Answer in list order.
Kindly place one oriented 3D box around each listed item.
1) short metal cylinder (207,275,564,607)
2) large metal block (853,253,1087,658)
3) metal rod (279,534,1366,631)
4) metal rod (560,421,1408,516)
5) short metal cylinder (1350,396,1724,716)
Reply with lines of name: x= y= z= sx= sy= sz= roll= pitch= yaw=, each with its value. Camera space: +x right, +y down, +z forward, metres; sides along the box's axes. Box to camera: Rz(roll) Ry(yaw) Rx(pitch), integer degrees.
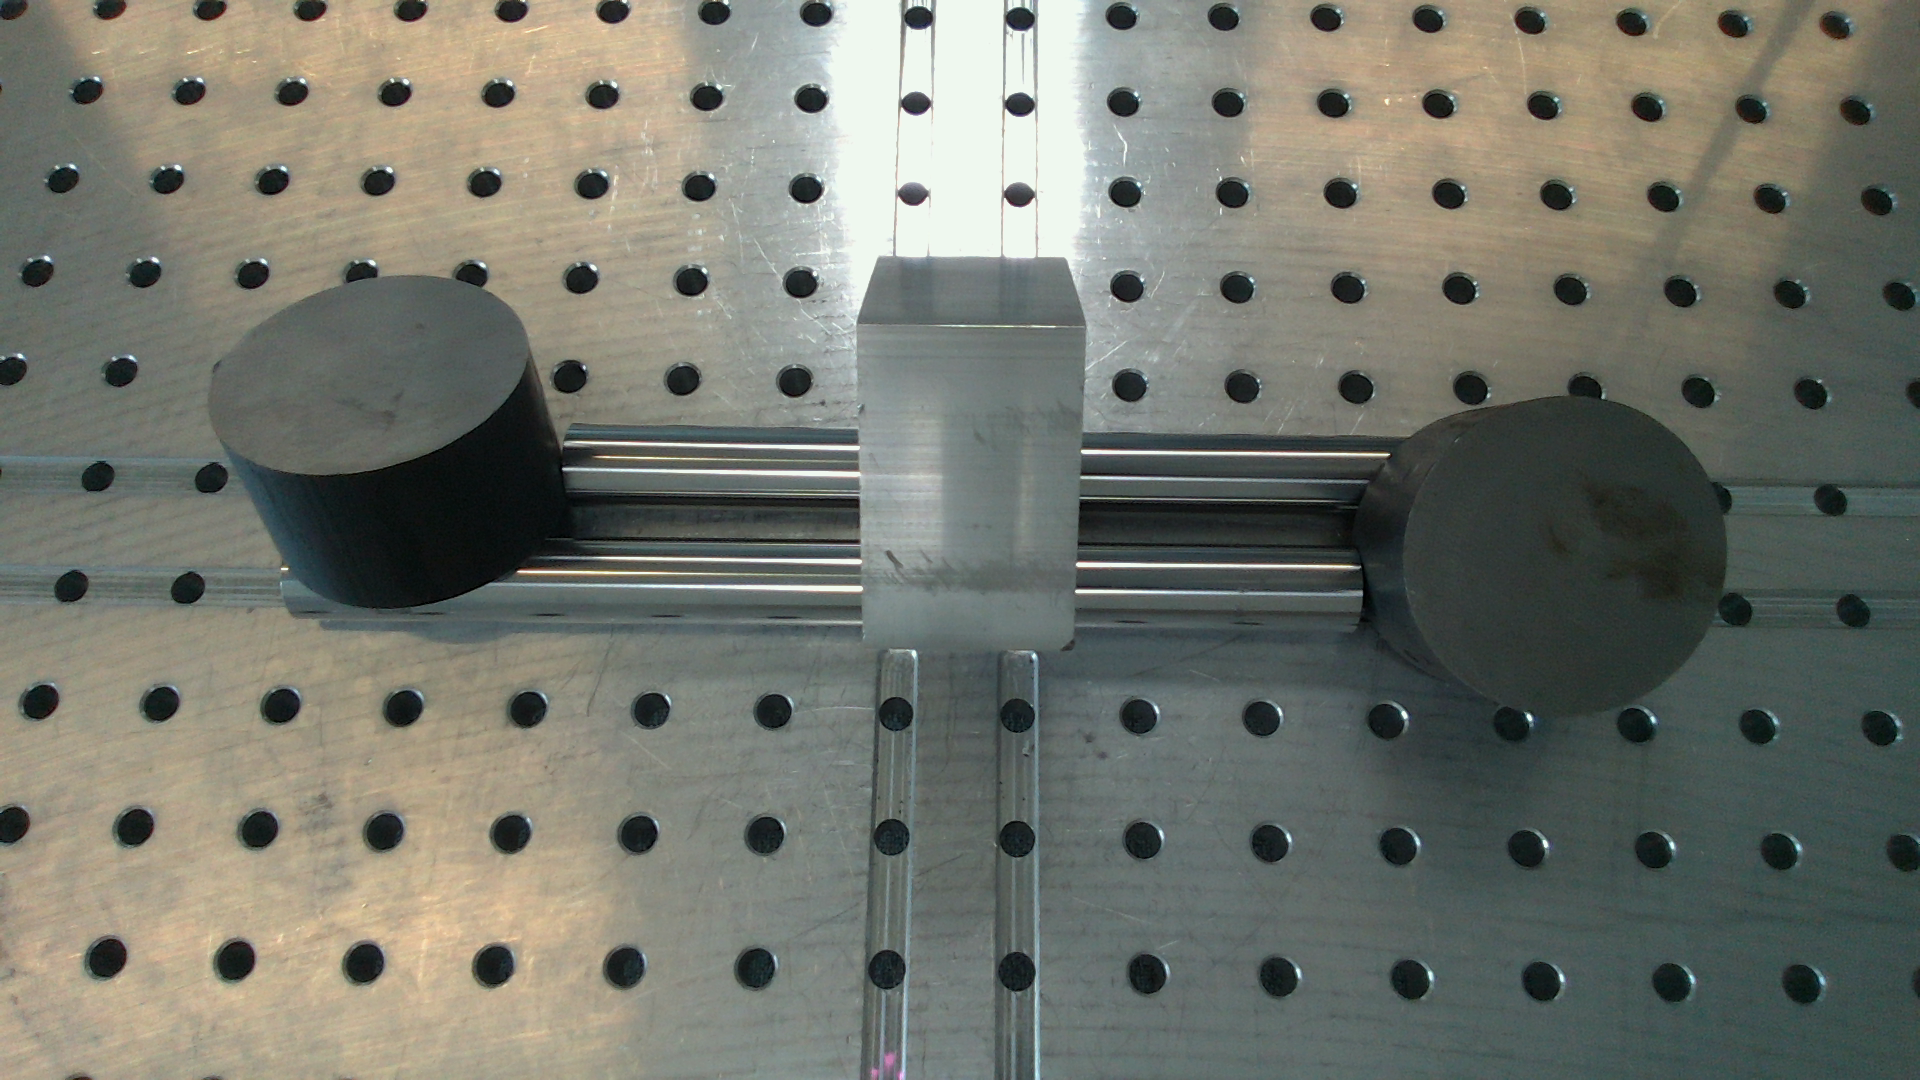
short metal cylinder: x=-0.154 y=-0.028 z=0.378 sx=0.080 sy=0.050 sz=0.080 roll=0 pitch=47 yaw=0
large metal block: x=0.002 y=-0.025 z=0.345 sx=0.050 sy=0.080 sz=0.080 roll=1 pitch=112 yaw=0
metal rod: x=-0.038 y=0.012 z=0.392 sx=0.300 sy=0.025 sz=0.025 roll=1 pitch=70 yaw=0
metal rod: x=0.036 y=-0.020 z=0.404 sx=0.300 sy=0.025 sz=0.025 roll=1 pitch=70 yaw=0
short metal cylinder: x=0.151 y=0.003 z=0.369 sx=0.080 sy=0.050 sz=0.080 roll=0 pitch=92 yaw=1
